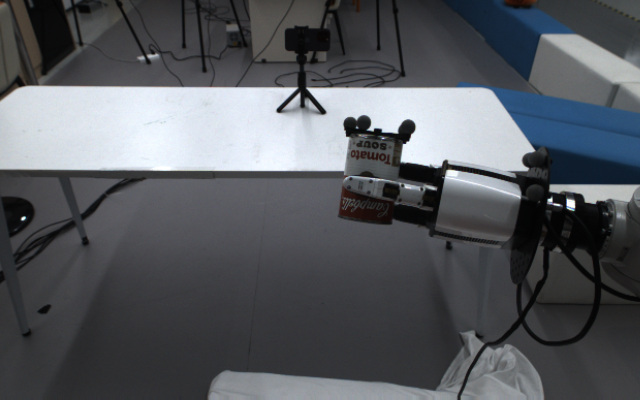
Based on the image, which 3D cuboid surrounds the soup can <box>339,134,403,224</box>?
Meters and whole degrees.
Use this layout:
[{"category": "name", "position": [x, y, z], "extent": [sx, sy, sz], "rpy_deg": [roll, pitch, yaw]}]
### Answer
[{"category": "soup can", "position": [0.063, -0.026, 0.592], "extent": [0.067, 0.101, 0.067], "rpy_deg": [7, 4, 0]}]
